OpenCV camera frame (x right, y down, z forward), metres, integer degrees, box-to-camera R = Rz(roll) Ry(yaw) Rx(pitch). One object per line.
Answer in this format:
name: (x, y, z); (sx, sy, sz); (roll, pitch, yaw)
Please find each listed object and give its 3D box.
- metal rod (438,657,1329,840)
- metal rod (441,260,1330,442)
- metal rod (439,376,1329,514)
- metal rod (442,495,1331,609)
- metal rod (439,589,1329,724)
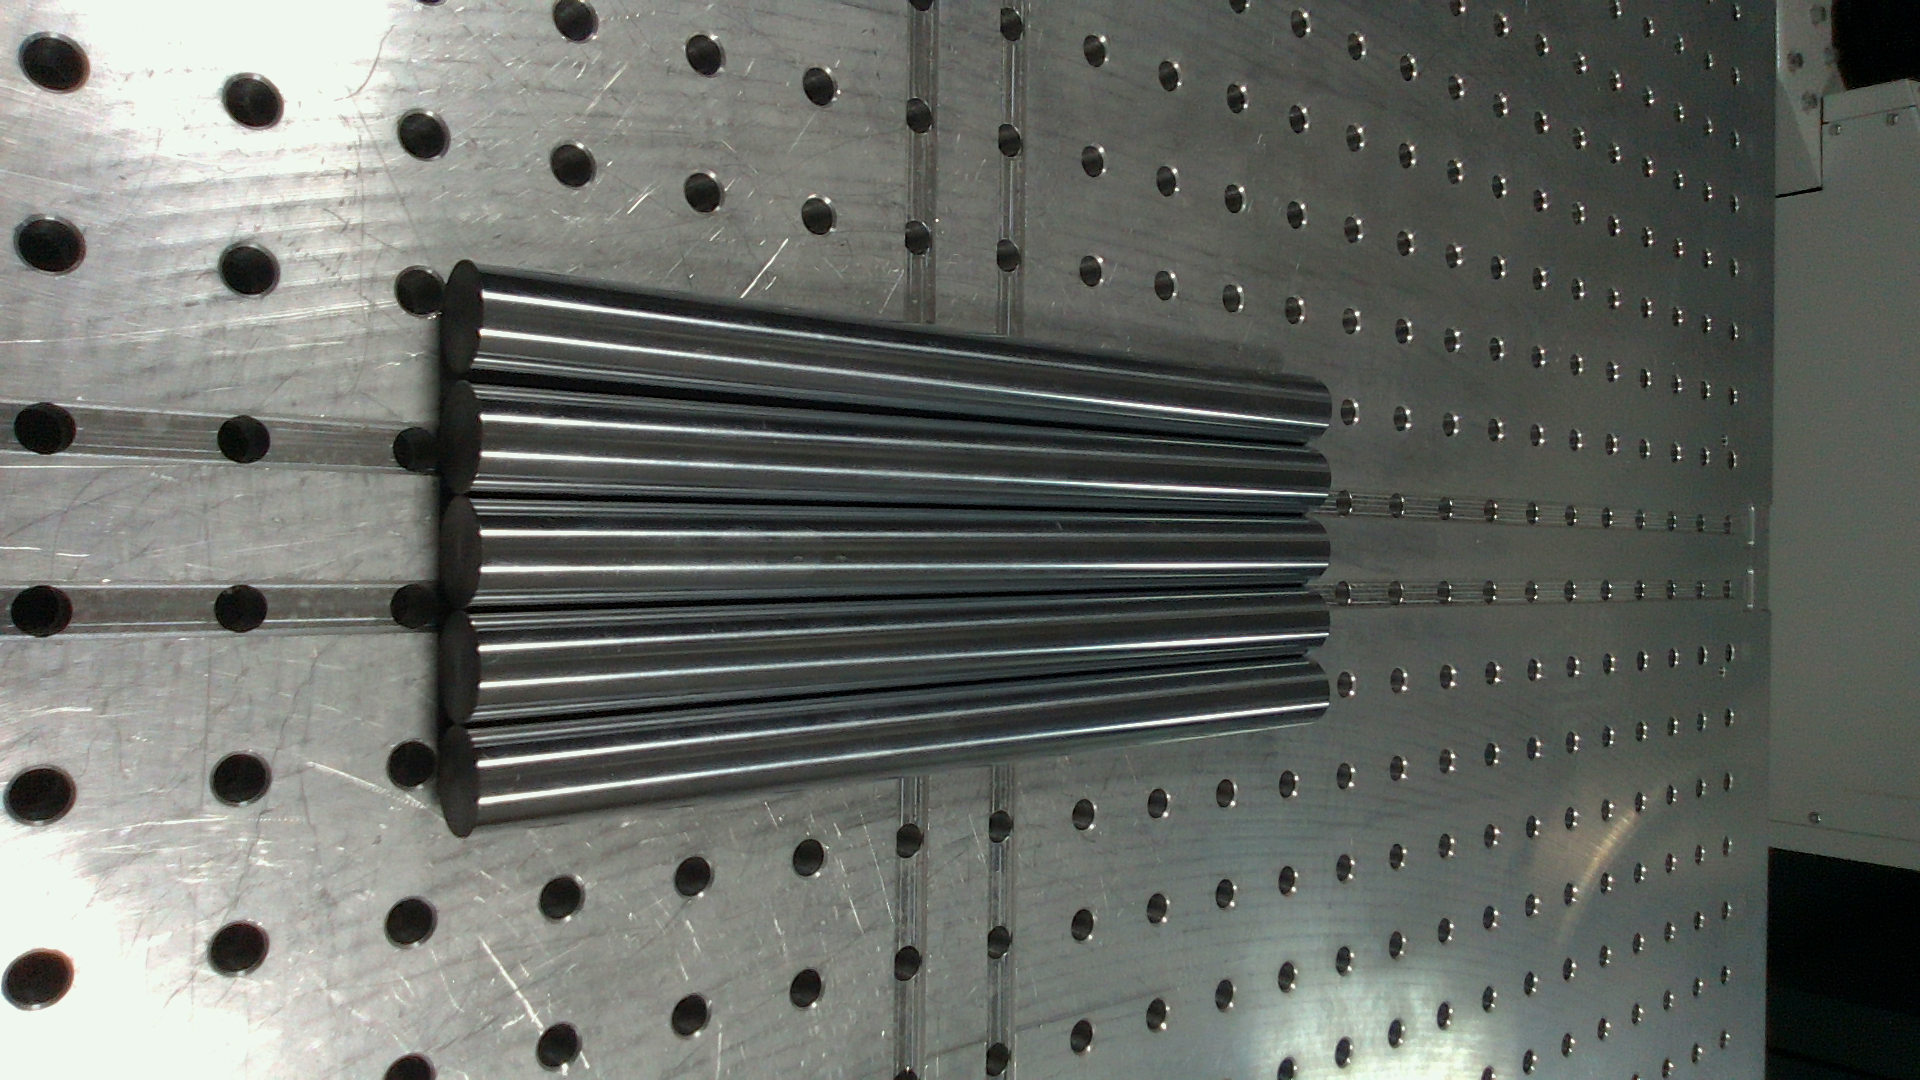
metal rod: (0.006, 0.053, 0.397); (0.301, 0.025, 0.025); (0, 90, -40)
metal rod: (0.007, -0.048, 0.397); (0.301, 0.025, 0.025); (0, 90, -40)
metal rod: (0.006, -0.022, 0.397); (0.301, 0.025, 0.025); (0, 90, -40)
metal rod: (0.007, 0.003, 0.397); (0.301, 0.025, 0.025); (0, 90, -40)
metal rod: (0.006, 0.029, 0.397); (0.301, 0.025, 0.025); (0, 90, -40)
